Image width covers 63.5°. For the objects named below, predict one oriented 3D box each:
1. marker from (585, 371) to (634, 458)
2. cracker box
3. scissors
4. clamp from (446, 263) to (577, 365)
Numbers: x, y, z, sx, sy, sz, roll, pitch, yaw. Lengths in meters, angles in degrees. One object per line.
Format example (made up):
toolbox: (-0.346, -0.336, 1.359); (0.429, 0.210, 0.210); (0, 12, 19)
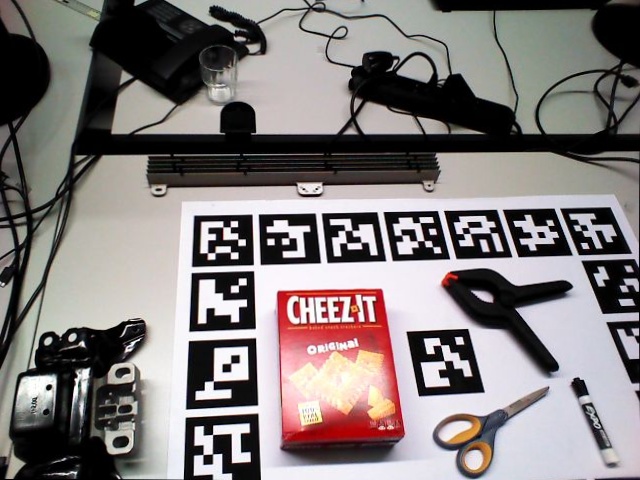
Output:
marker: (0.414, 0.247, 0.744); (0.019, 0.020, 0.120); (-5, 57, -8)
cracker box: (0.035, 0.175, 0.732); (0.164, 0.072, 0.212); (-1, 58, -5)
scissors: (0.271, 0.249, 0.733); (0.202, 0.016, 0.087); (-27, 62, -22)
clamp: (0.304, 0.092, 0.841); (0.203, 0.037, 0.164); (24, 57, 10)
